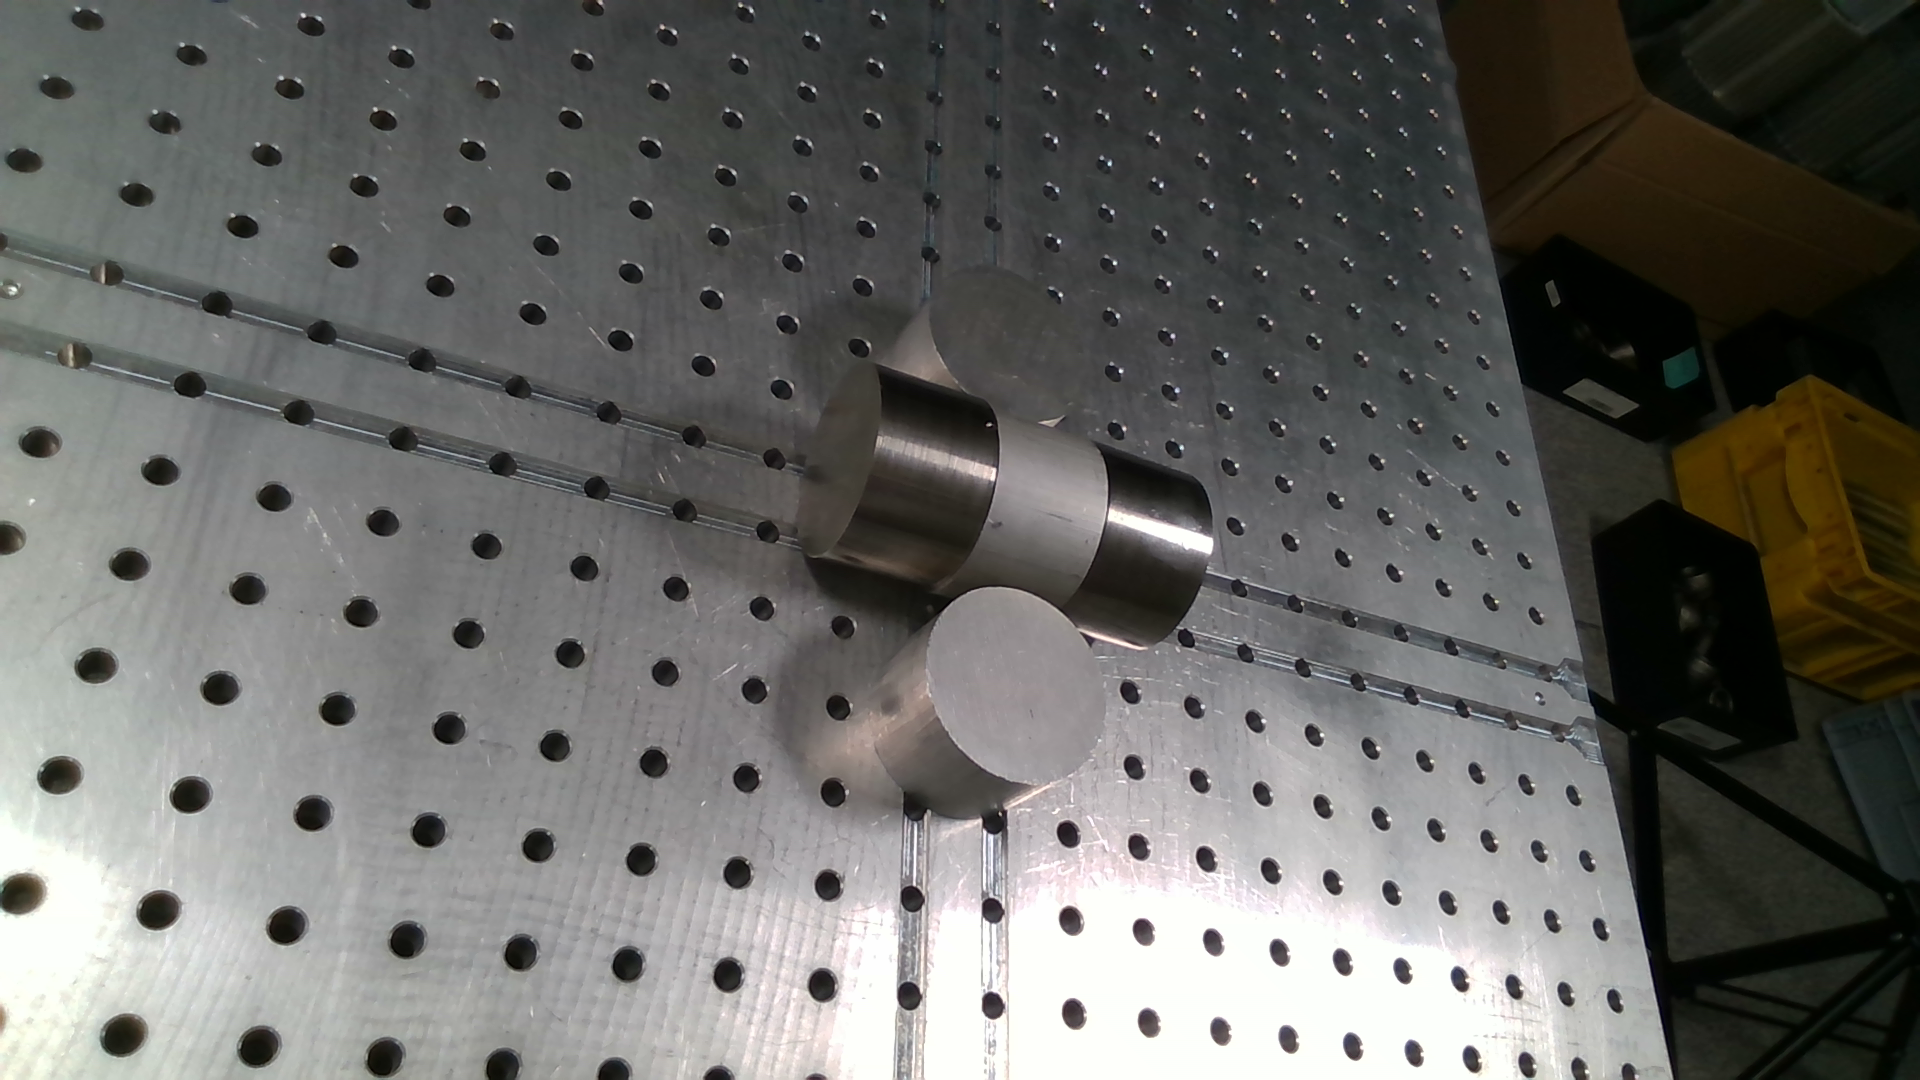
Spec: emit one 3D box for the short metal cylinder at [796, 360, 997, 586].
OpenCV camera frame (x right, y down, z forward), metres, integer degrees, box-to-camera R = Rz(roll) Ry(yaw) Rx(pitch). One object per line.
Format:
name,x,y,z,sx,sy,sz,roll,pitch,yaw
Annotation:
short metal cylinder,-0.027,-0.026,0.550,0.050,0.080,0.080,15,58,-24

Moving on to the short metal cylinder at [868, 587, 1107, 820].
short metal cylinder,0.011,0.065,0.544,0.080,0.050,0.080,14,59,-25

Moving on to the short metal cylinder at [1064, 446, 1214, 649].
short metal cylinder,0.064,0.002,0.591,0.050,0.080,0.080,17,58,-23

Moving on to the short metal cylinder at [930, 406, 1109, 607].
short metal cylinder,0.018,-0.011,0.570,0.050,0.080,0.080,16,58,-24

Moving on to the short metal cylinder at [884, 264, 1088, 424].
short metal cylinder,0.010,-0.076,0.619,0.080,0.050,0.080,14,59,-25
